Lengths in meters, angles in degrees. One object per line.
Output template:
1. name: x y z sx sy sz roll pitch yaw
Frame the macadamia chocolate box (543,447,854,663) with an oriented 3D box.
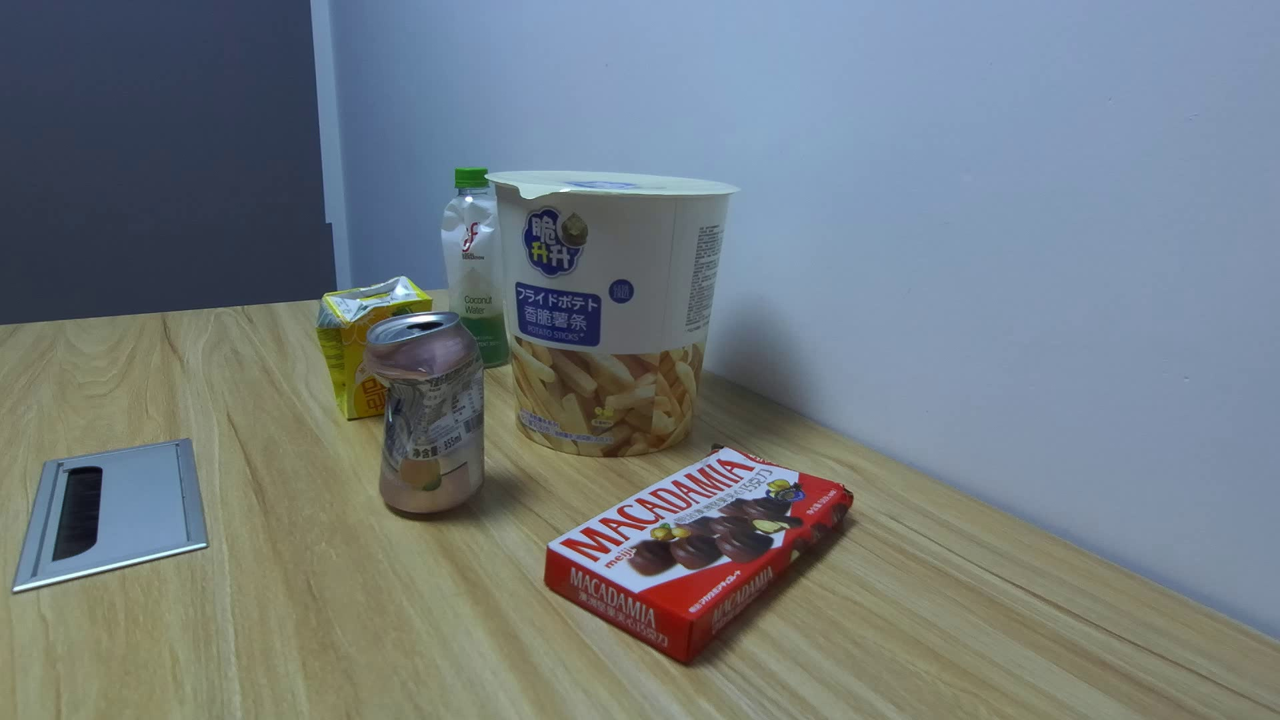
1. macadamia chocolate box: 0.043 0.099 0.412 0.105 0.028 0.184 16 22 35

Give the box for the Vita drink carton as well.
1. Vita drink carton: -0.210 -0.006 0.569 0.087 0.108 0.042 -12 36 -30

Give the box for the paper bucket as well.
1. paper bucket: -0.021 -0.042 0.559 0.198 0.194 0.198 2 18 0

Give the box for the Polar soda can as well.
1. Polar soda can: -0.137 0.033 0.439 0.071 0.122 0.066 6 24 13
